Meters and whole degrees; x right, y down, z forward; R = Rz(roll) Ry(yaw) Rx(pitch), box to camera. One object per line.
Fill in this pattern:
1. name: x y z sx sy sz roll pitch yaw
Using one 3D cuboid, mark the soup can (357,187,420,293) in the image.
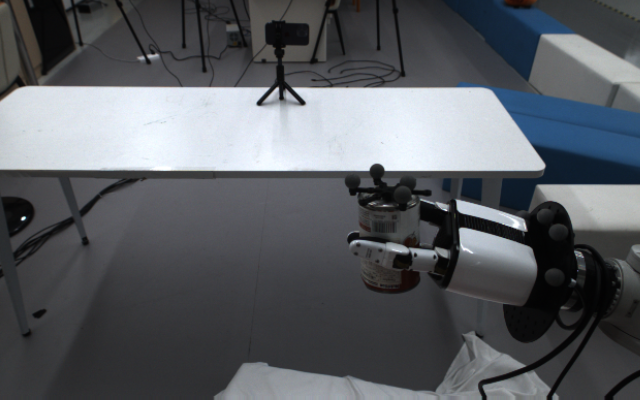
1. soup can: 0.080 0.042 0.538 0.067 0.101 0.067 -4 21 2
